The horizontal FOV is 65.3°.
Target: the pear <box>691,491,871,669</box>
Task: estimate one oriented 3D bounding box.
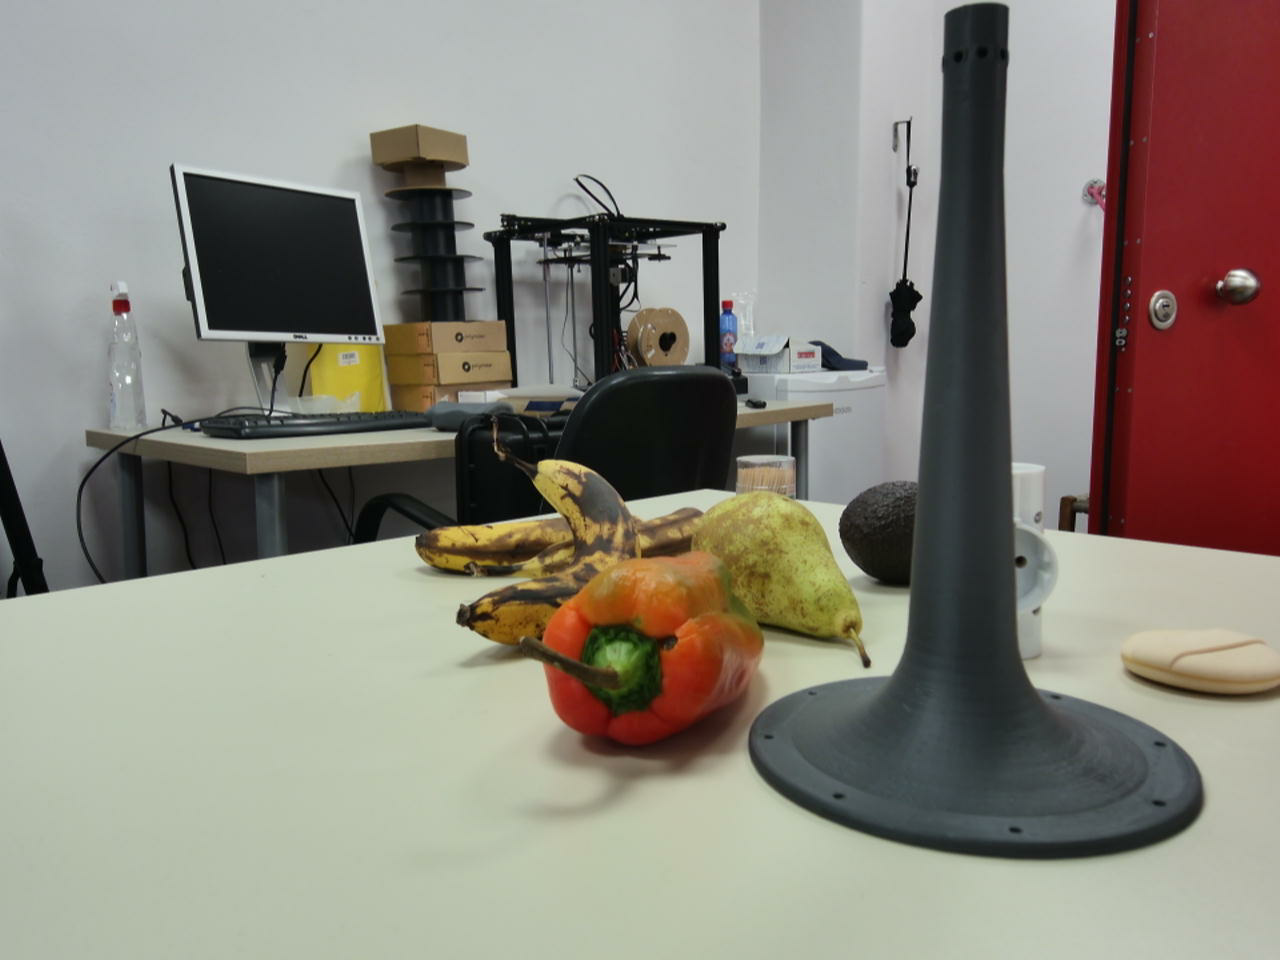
[{"bbox_3d":[0.082,0.046,0.542,0.128,0.075,0.071,6,7,39],"label":"pear"}]
